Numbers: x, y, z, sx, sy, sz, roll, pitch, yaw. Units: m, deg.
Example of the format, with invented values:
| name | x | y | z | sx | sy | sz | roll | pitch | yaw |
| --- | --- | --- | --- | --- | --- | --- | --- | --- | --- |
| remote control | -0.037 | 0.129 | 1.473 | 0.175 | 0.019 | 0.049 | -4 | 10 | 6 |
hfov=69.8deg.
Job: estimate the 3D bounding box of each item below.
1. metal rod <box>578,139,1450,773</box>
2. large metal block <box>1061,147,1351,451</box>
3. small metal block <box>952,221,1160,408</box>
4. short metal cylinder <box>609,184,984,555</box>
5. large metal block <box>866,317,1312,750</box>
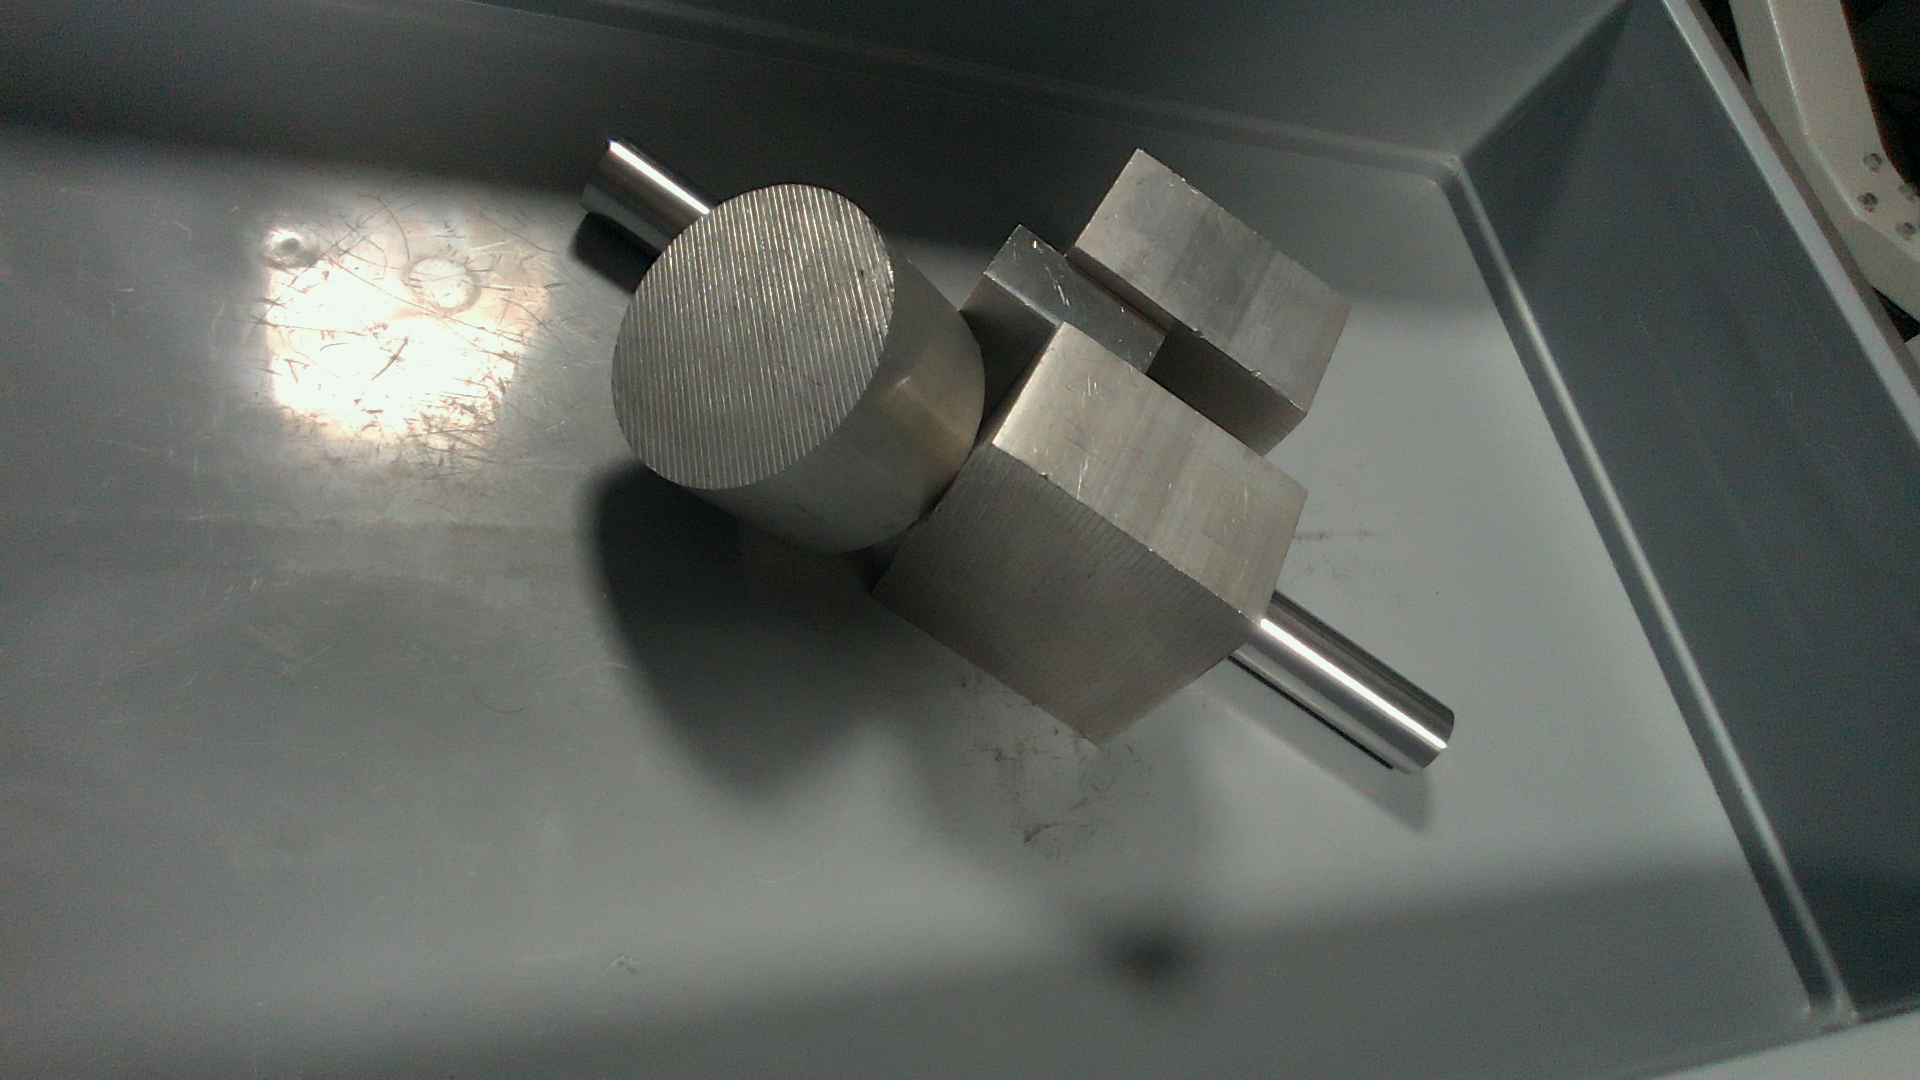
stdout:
| name | x | y | z | sx | sy | sz | roll | pitch | yaw |
| --- | --- | --- | --- | --- | --- | --- | --- | --- | --- |
| metal rod | 0.020 | -0.022 | 0.414 | 0.300 | 0.025 | 0.025 | 34 | 51 | -6 |
| large metal block | 0.057 | -0.056 | 0.419 | 0.080 | 0.080 | 0.050 | 35 | 51 | -5 |
| small metal block | 0.019 | -0.052 | 0.384 | 0.050 | 0.050 | 0.025 | 35 | 51 | -5 |
| short metal cylinder | -0.041 | -0.042 | 0.349 | 0.050 | 0.080 | 0.080 | 36 | 35 | -58 |
| large metal block | 0.033 | 0.001 | 0.371 | 0.080 | 0.080 | 0.050 | 34 | 51 | -6 |
